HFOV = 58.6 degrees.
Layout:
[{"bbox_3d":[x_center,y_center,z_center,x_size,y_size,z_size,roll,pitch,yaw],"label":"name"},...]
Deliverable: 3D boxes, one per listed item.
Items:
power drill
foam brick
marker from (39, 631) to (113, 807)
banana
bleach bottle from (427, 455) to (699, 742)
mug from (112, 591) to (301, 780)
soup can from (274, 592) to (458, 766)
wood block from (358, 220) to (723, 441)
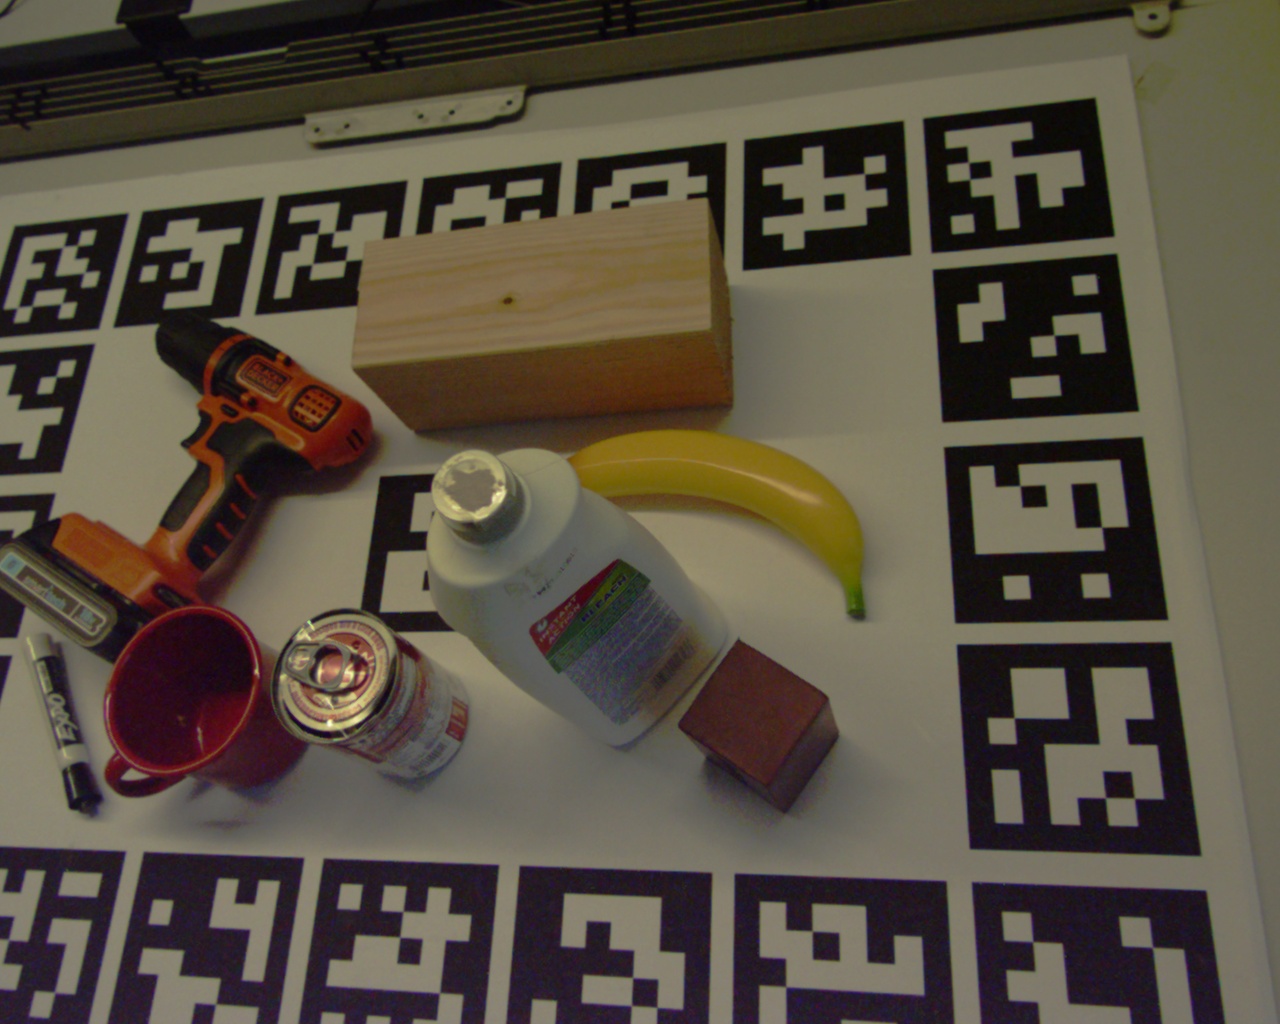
[{"bbox_3d":[-0.286,-0.017,0.746,0.186,0.057,0.186,27,75,20],"label":"power drill"},{"bbox_3d":[0.056,0.108,0.590,0.053,0.077,0.051,31,75,25],"label":"foam brick"},{"bbox_3d":[-0.356,0.130,0.718,0.019,0.019,0.122,-31,64,2],"label":"marker"},{"bbox_3d":[0.023,-0.022,0.672,0.199,0.038,0.074,13,85,17],"label":"banana"},{"bbox_3d":[-0.037,0.035,0.548,0.068,0.248,0.102,27,74,23],"label":"bleach bottle"},{"bbox_3d":[-0.249,0.109,0.662,0.117,0.081,0.094,-46,67,-5],"label":"mug"},{"bbox_3d":[-0.146,0.095,0.625,0.068,0.101,0.068,-5,62,9],"label":"soup can"},{"bbox_3d":[-0.057,-0.109,0.706,0.207,0.090,0.090,-4,68,13],"label":"wood block"}]
